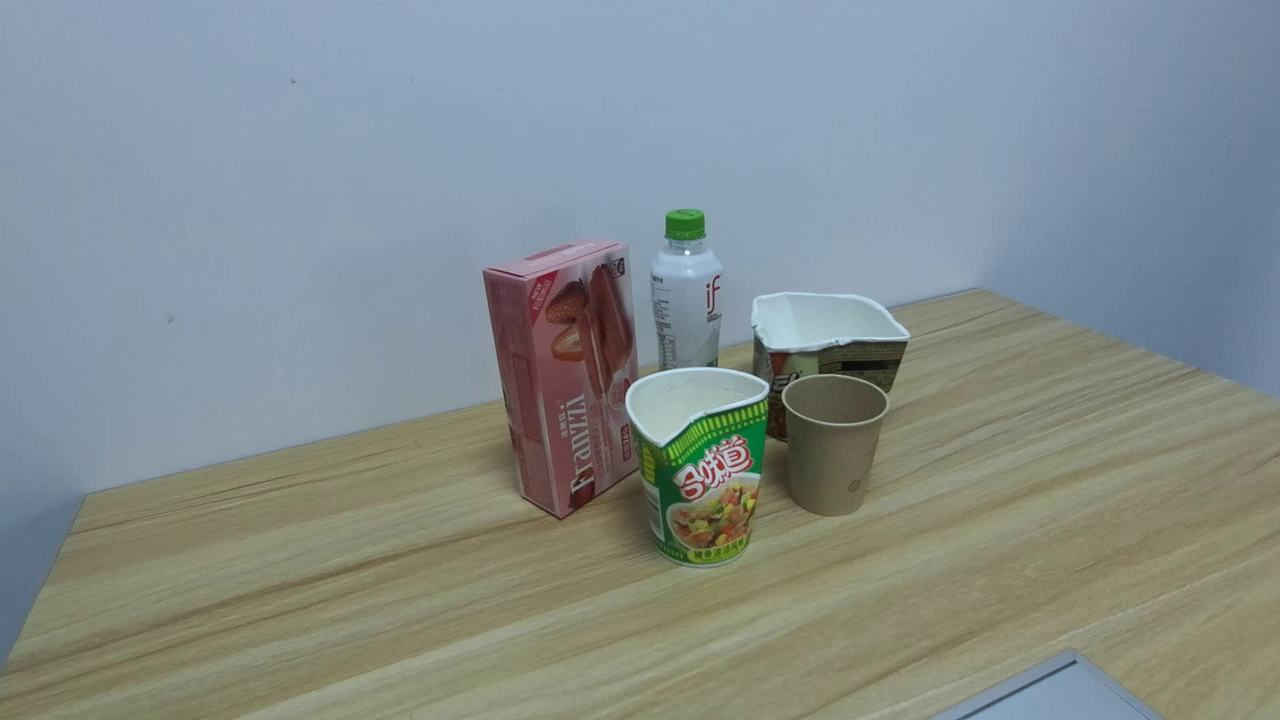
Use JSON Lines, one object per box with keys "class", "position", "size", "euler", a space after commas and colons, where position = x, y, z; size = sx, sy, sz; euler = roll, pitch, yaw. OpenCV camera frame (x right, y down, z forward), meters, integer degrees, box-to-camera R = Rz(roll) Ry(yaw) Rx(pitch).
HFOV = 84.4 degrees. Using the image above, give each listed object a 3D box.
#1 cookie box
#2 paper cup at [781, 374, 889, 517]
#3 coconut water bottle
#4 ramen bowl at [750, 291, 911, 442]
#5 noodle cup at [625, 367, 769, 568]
{"class": "cookie box", "position": [-0.049, 0.013, 0.521], "size": [0.048, 0.185, 0.096], "euler": [16, 31, 40]}
{"class": "paper cup", "position": [0.137, 0.063, 0.507], "size": [0.075, 0.082, 0.075], "euler": [-2, 26, 1]}
{"class": "coconut water bottle", "position": [0.040, -0.026, 0.581], "size": [0.063, 0.189, 0.063], "euler": [-3, 22, 1]}
{"class": "ramen bowl", "position": [0.151, 0.002, 0.622], "size": [0.114, 0.098, 0.133], "euler": [-10, 27, -10]}
{"class": "noodle cup", "position": [0.040, 0.071, 0.471], "size": [0.094, 0.109, 0.086], "euler": [-10, 27, -13]}
